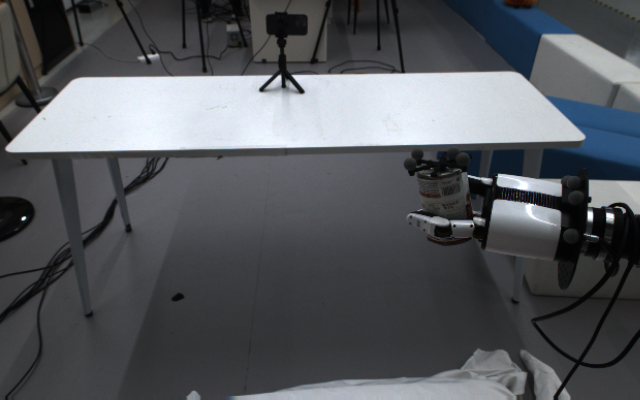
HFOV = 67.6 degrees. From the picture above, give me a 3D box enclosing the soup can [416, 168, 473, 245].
[{"bbox_3d":[0.176,0.003,0.666,0.067,0.101,0.067,-13,20,5],"label":"soup can"}]
